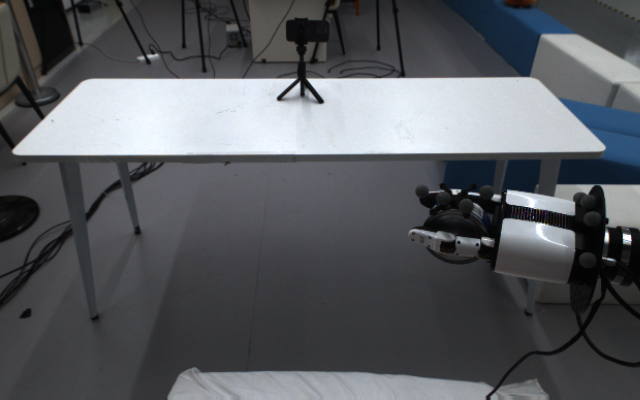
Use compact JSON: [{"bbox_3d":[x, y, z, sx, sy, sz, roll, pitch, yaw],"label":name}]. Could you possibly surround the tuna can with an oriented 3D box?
[{"bbox_3d":[0.182,0.039,0.638,0.085,0.085,0.034,15,34,18],"label":"tuna can"}]
